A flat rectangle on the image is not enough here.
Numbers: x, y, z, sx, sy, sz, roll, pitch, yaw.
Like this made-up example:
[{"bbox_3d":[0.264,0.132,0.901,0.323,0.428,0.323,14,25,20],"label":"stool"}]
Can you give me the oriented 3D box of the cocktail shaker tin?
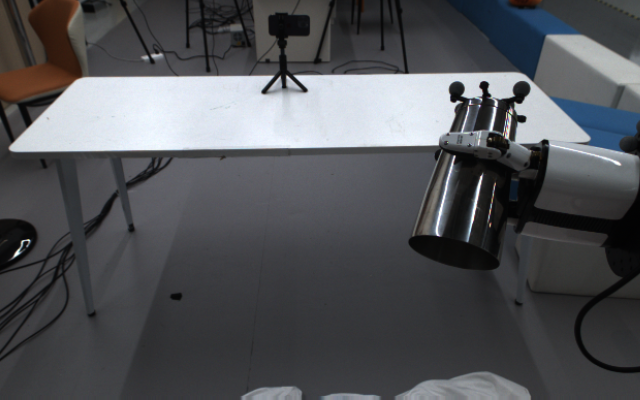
[{"bbox_3d":[0.161,-0.022,0.516,0.093,0.093,0.170,14,70,16],"label":"cocktail shaker tin"}]
